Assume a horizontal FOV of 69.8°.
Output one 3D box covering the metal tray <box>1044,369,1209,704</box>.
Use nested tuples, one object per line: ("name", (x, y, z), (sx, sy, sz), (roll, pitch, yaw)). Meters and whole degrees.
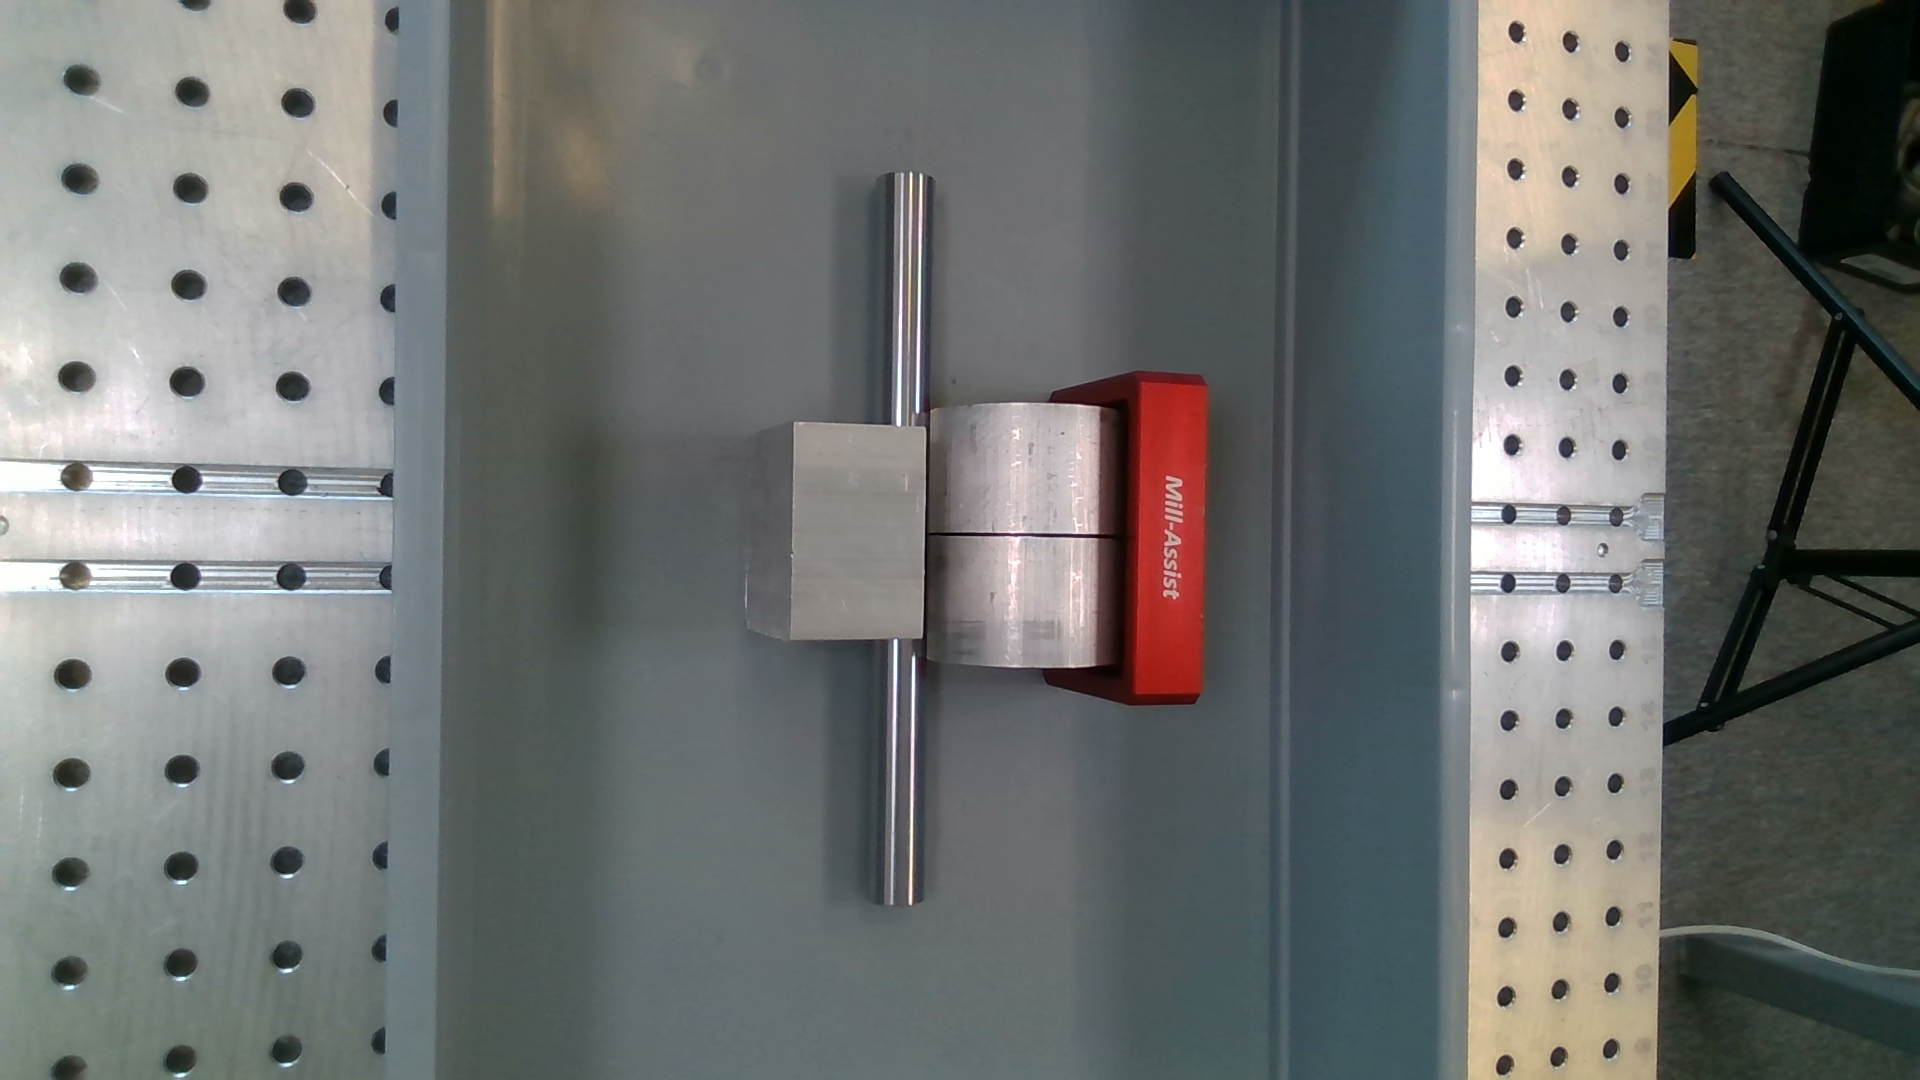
("metal tray", (0.067, -0.001, 0.575), (0.030, 0.090, 0.130), (1, 90, -20))

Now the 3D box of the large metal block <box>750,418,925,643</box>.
("large metal block", (-0.051, -0.003, 0.536), (0.050, 0.080, 0.080), (1, 90, -20))

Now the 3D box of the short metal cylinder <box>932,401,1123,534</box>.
("short metal cylinder", (0.027, -0.028, 0.567), (0.080, 0.080, 0.050), (1, 90, -20))

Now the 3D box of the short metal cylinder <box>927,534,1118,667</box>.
("short metal cylinder", (0.027, 0.024, 0.567), (0.080, 0.080, 0.050), (2, 89, -20))

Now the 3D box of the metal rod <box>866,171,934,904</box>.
("metal rod", (-0.025, -0.001, 0.575), (0.025, 0.025, 0.300), (1, 90, -20))
